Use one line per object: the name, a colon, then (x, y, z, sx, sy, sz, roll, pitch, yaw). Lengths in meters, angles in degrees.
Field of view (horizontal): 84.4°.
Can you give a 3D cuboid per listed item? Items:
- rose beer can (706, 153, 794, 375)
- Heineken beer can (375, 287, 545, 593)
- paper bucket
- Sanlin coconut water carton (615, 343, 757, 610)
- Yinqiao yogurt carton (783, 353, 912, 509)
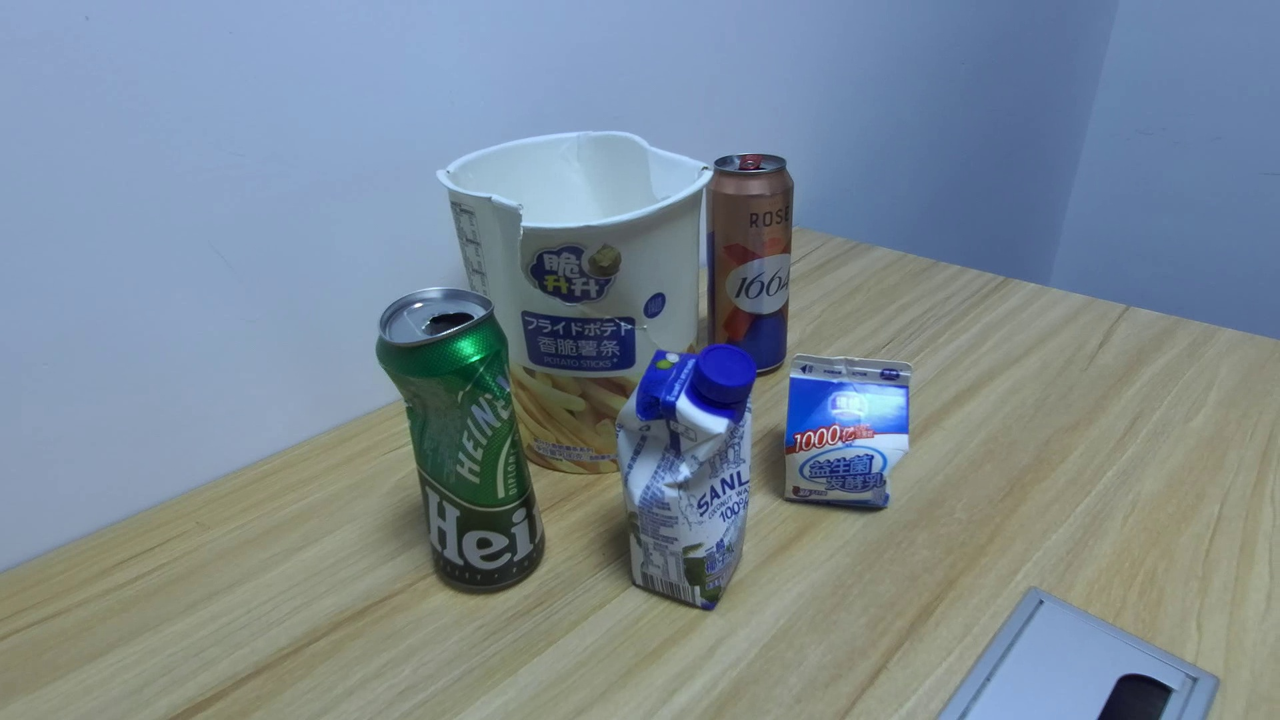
rose beer can: (0.087, -0.073, 0.565, 0.068, 0.169, 0.068, -2, 29, 2)
Heineken beer can: (-0.094, 0.045, 0.381, 0.066, 0.164, 0.077, -8, 32, -6)
paper bucket: (-0.034, -0.041, 0.491, 0.146, 0.197, 0.201, -21, 33, -26)
Sanlin coconut water carton: (0.024, 0.057, 0.363, 0.069, 0.144, 0.061, 12, 34, 24)
Yinqiao yogurt carton: (0.126, 0.037, 0.434, 0.074, 0.097, 0.080, 2, 37, 9)
